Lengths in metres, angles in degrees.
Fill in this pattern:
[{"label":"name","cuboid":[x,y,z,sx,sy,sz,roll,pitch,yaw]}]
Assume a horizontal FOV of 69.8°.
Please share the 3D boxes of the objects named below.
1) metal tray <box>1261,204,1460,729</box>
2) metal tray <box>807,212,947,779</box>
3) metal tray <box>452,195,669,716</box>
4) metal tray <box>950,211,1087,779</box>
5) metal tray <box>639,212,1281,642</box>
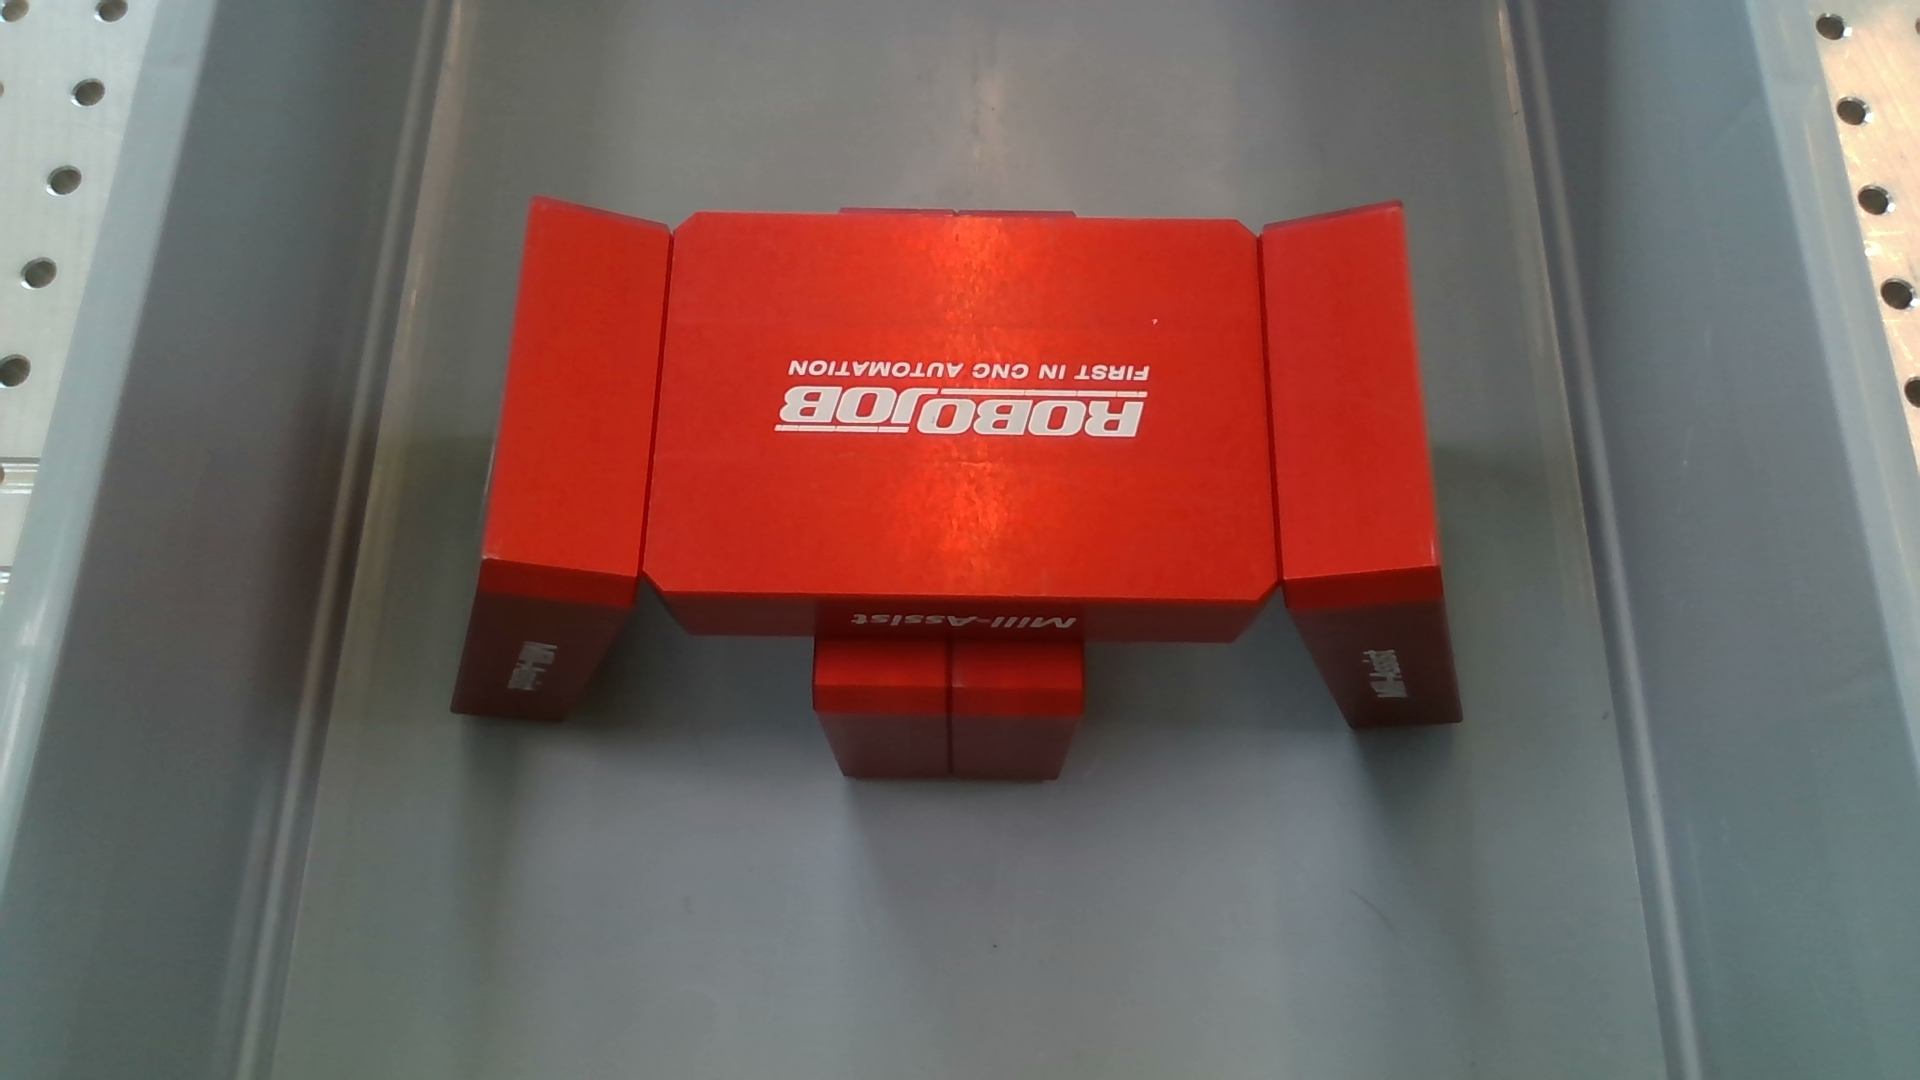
[{"label":"metal tray","cuboid":[0.102,-0.010,0.342,0.030,0.130,0.090,-6,69,19]},{"label":"metal tray","cuboid":[-0.018,-0.009,0.364,0.030,0.090,0.130,1,70,0]},{"label":"metal tray","cuboid":[-0.102,-0.012,0.342,0.030,0.130,0.090,8,70,-20]},{"label":"metal tray","cuboid":[0.014,-0.008,0.363,0.030,0.090,0.130,1,70,0]},{"label":"metal tray","cuboid":[0.000,-0.025,0.305,0.130,0.030,0.090,1,71,0]}]
